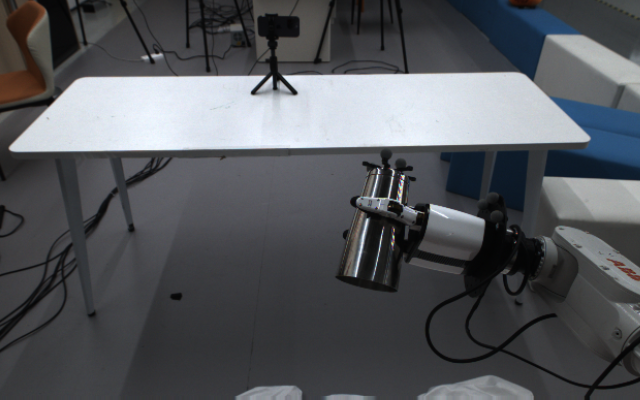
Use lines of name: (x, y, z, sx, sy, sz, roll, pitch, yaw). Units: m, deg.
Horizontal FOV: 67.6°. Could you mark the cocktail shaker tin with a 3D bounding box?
cocktail shaker tin: (0.085, 0.043, 0.720, 0.093, 0.093, 0.170, 11, 74, 13)
